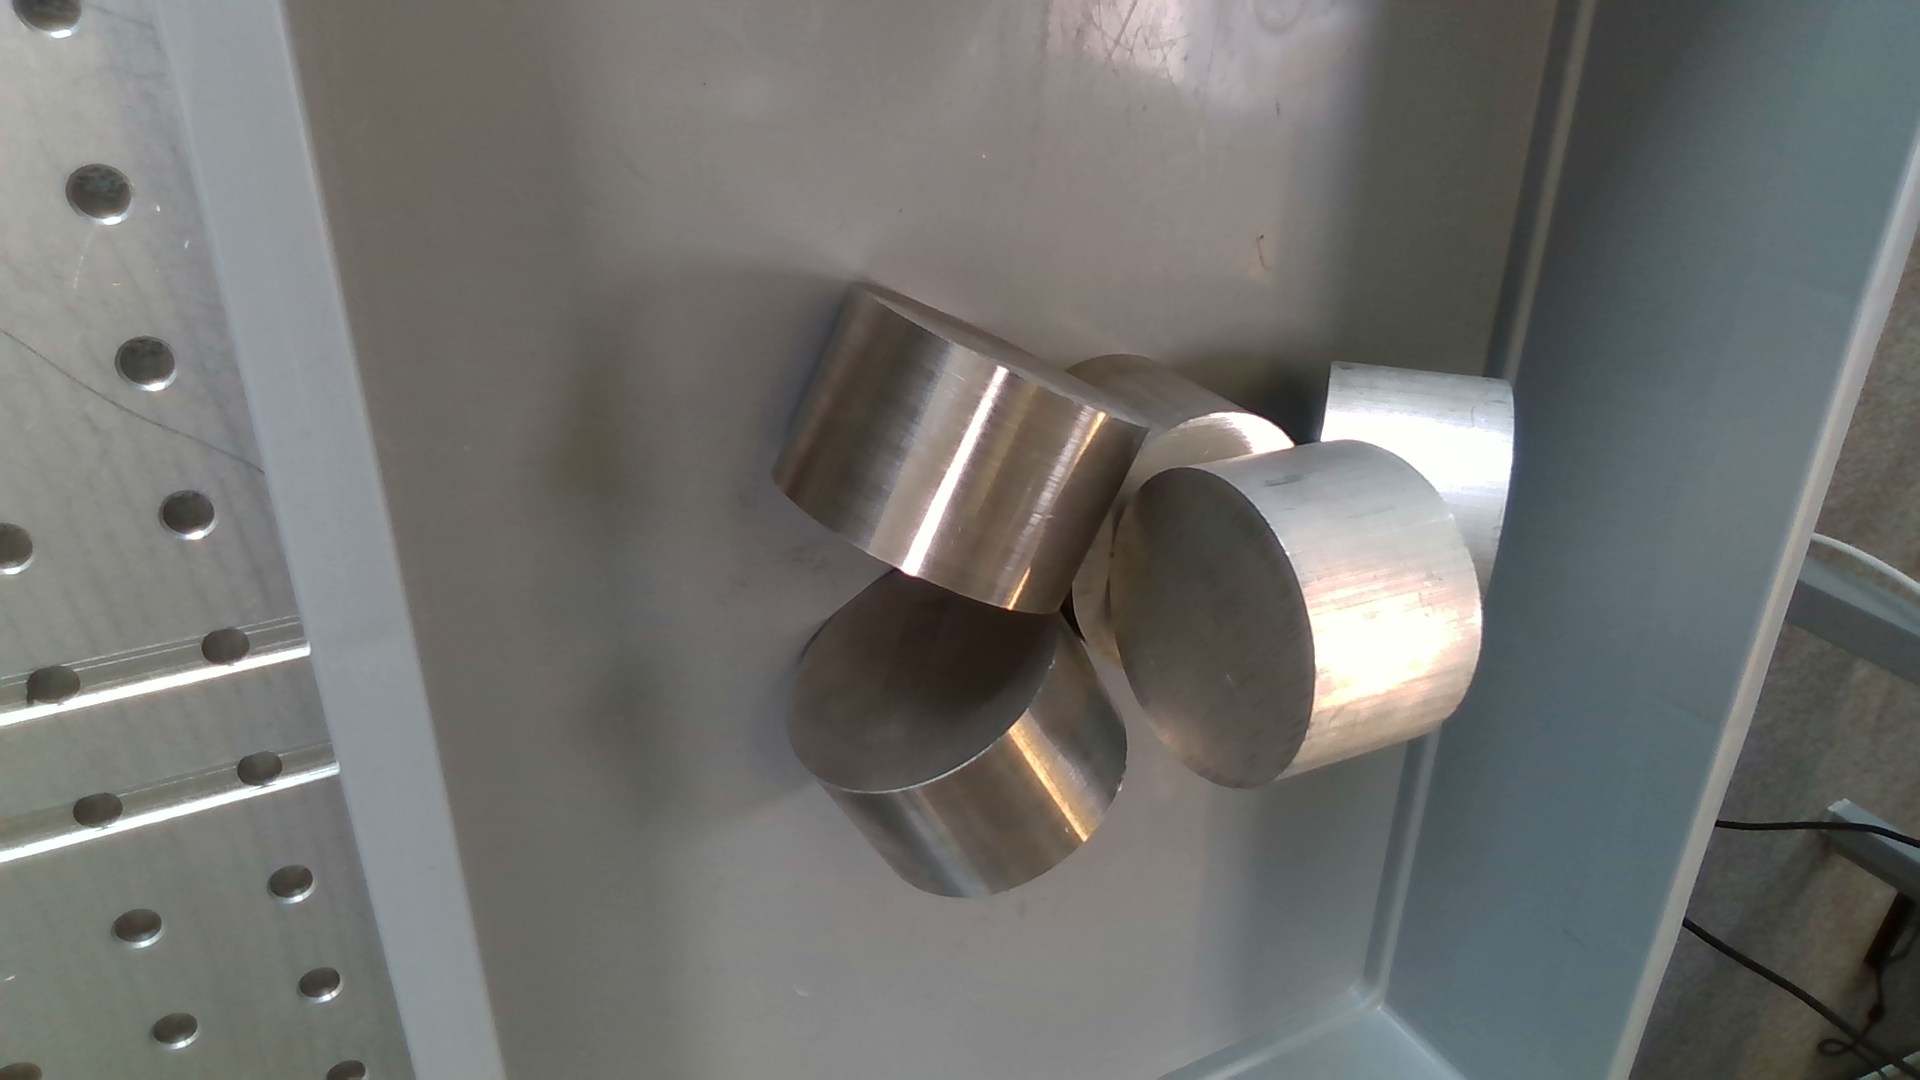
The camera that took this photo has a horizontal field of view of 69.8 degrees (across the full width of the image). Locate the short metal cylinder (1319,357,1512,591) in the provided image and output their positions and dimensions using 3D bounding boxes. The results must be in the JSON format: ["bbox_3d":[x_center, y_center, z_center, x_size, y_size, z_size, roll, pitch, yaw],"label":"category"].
[{"bbox_3d":[0.132,-0.013,0.419,0.050,0.080,0.080,9,117,11],"label":"short metal cylinder"}]

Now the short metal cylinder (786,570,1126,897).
[{"bbox_3d":[0.000,0.050,0.380,0.080,0.080,0.050,-39,128,-8],"label":"short metal cylinder"}]

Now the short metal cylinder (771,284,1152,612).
[{"bbox_3d":[0.000,-0.024,0.340,0.080,0.080,0.050,17,105,-37],"label":"short metal cylinder"}]

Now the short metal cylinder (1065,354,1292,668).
[{"bbox_3d":[0.054,-0.008,0.399,0.080,0.050,0.080,-14,122,-25],"label":"short metal cylinder"}]

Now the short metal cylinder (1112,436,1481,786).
[{"bbox_3d":[0.082,0.017,0.347,0.050,0.080,0.080,-11,120,-26],"label":"short metal cylinder"}]
